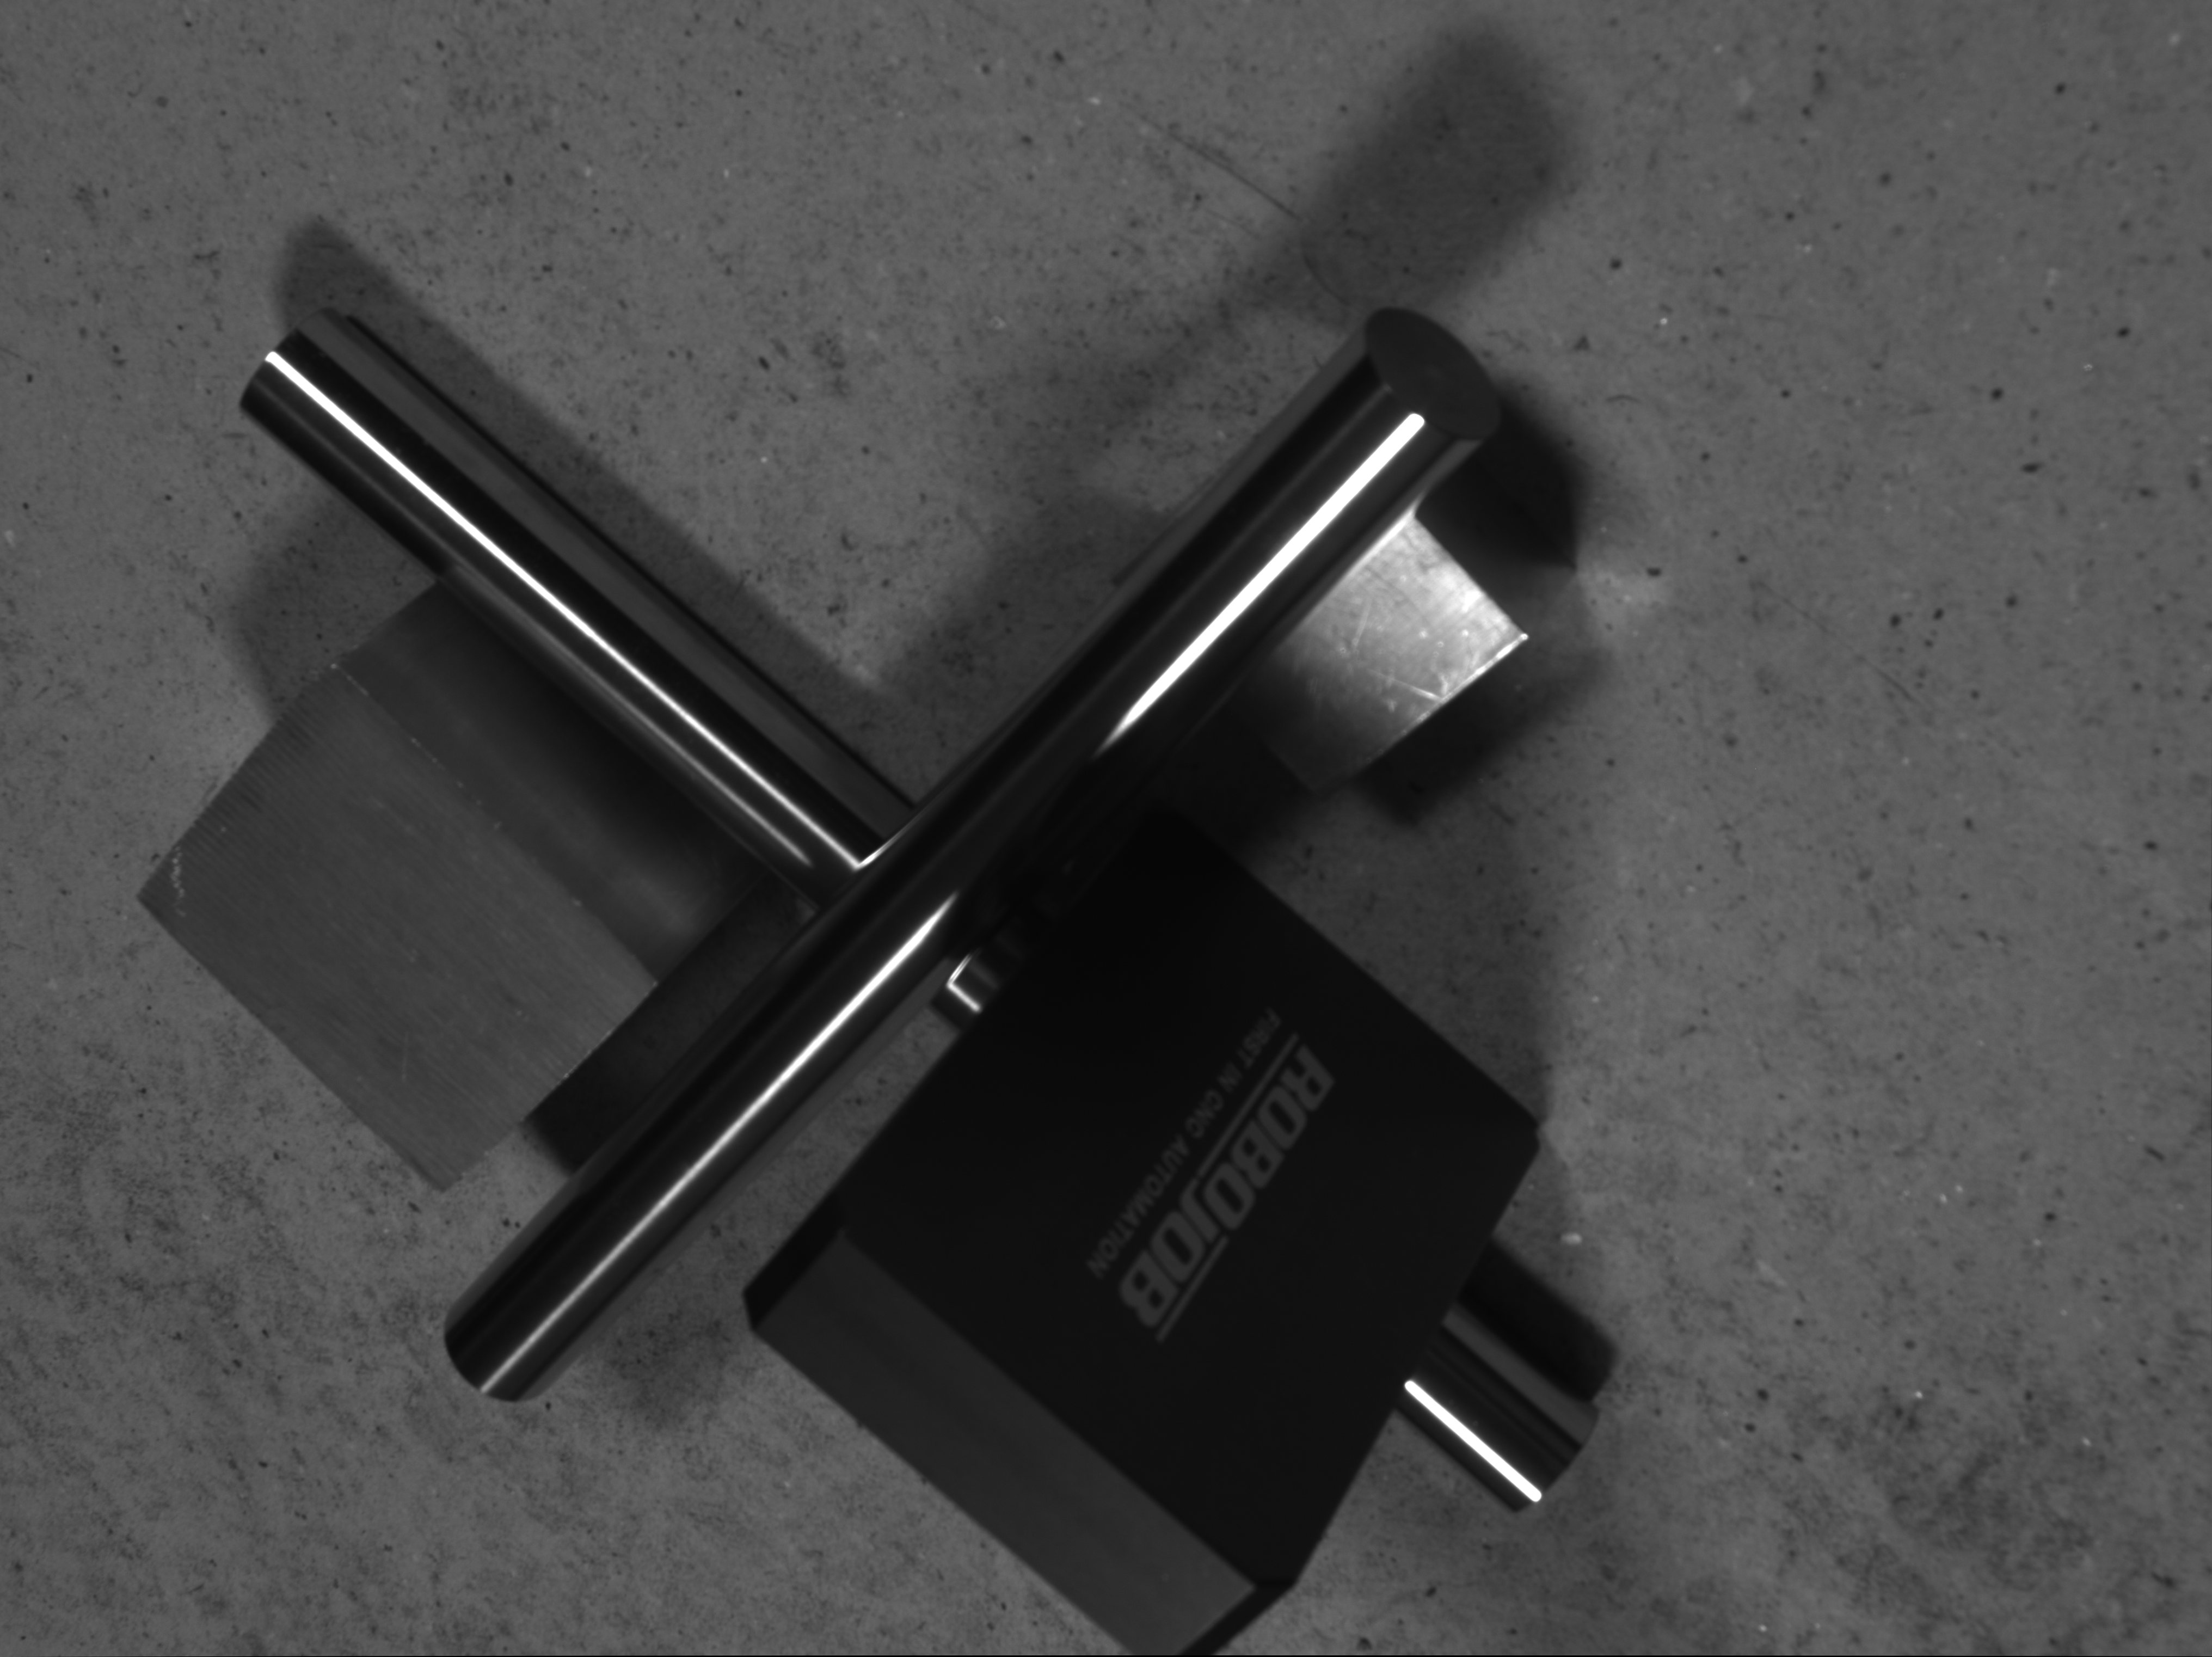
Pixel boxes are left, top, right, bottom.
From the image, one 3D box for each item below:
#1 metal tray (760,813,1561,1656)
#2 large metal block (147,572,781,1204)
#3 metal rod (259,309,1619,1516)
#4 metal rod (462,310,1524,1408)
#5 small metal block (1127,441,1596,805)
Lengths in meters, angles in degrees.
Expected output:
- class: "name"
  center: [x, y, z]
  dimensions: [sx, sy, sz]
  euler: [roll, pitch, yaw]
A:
- class: "metal tray"
  center: [0.013, 0.063, 0.595]
  dimensions: [0.090, 0.130, 0.030]
  euler: [41, 129, 0]
- class: "large metal block"
  center: [-0.116, 0.009, 0.678]
  dimensions: [0.080, 0.050, 0.080]
  euler: [45, 128, -4]
- class: "metal rod"
  center: [-0.029, 0.015, 0.655]
  dimensions: [0.300, 0.025, 0.025]
  euler: [41, 128, -1]
- class: "metal rod"
  center: [-0.032, 0.018, 0.626]
  dimensions: [0.025, 0.025, 0.300]
  euler: [43, 128, -2]
- class: "small metal block"
  center: [0.041, -0.040, 0.586]
  dimensions: [0.050, 0.025, 0.050]
  euler: [46, 128, -5]
